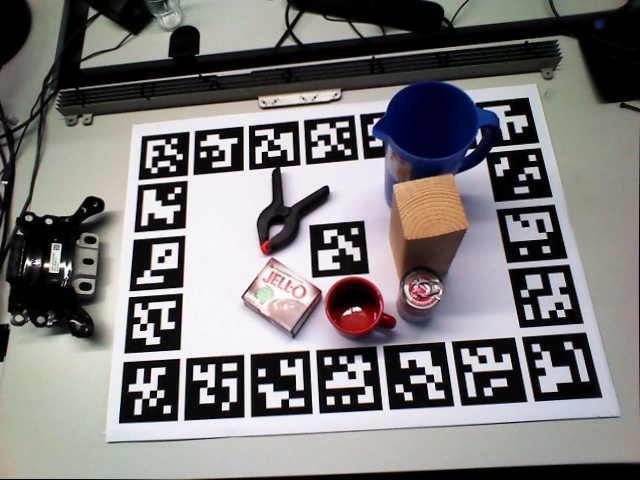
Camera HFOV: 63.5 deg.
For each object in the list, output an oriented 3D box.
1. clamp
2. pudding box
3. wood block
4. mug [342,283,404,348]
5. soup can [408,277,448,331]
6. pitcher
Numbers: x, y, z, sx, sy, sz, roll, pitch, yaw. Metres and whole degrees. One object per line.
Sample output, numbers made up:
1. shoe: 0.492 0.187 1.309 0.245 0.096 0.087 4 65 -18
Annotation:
1. clamp: -0.037 -0.043 0.944 0.122 0.037 0.164 26 74 8
2. pudding box: -0.055 0.105 0.882 0.114 0.039 0.090 33 78 18
3. wood block: 0.186 0.000 0.800 0.090 0.207 0.090 -5 67 0
4. mug: 0.085 0.132 0.829 0.117 0.081 0.093 31 72 18
5. soup can: 0.176 0.103 0.817 0.068 0.102 0.067 -2 70 6
6. pitcher: 0.206 -0.119 0.829 0.189 0.243 0.132 -5 66 7
